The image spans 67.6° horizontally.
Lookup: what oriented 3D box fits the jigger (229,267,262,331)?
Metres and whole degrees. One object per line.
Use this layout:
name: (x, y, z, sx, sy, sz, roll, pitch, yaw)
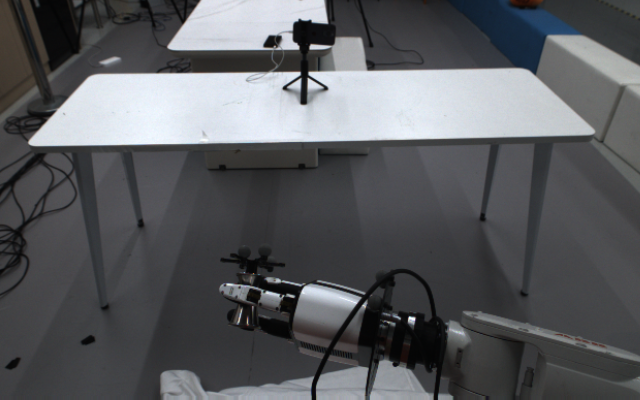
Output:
jigger: (-0.097, 0.133, 0.645, 0.043, 0.043, 0.071, 4, 71, 3)
